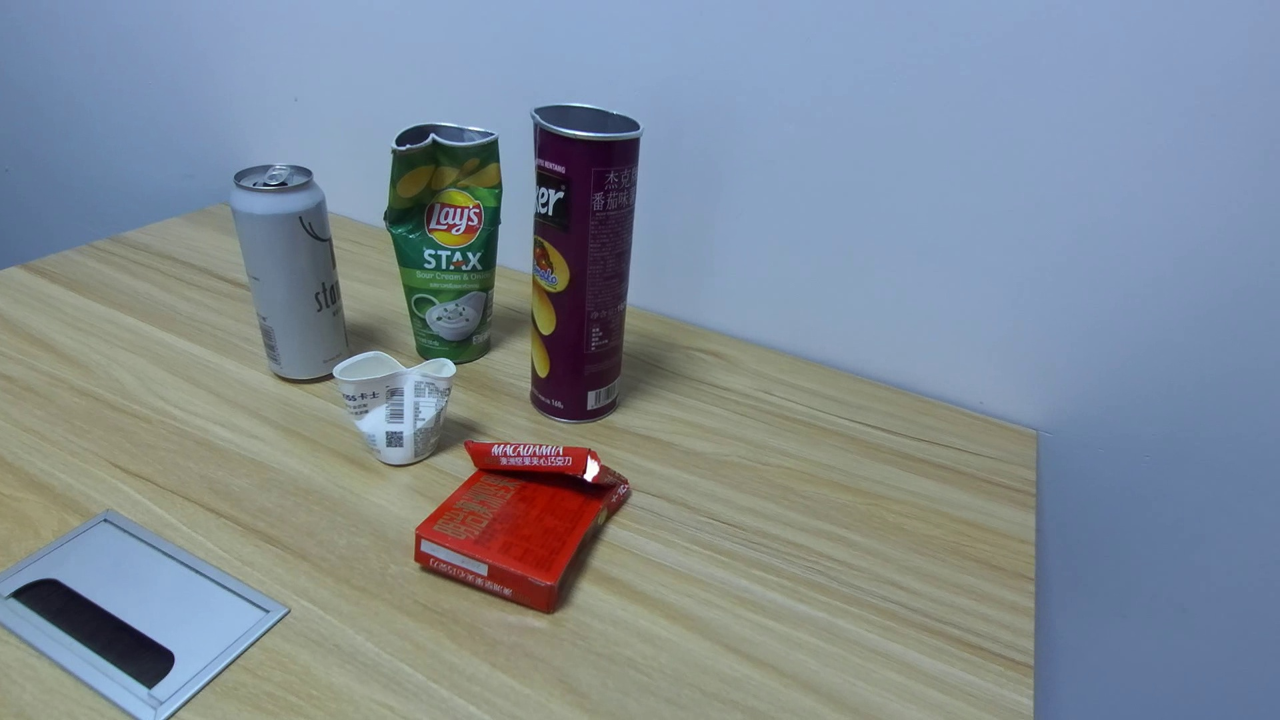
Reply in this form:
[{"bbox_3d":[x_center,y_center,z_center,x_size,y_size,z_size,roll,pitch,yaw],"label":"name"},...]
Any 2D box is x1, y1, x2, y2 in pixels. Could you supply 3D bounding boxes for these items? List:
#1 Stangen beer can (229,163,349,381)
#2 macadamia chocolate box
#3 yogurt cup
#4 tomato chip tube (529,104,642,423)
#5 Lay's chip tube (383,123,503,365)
[{"bbox_3d":[-0.280,-0.067,0.571,0.067,0.171,0.067,4,32,-2],"label":"Stangen beer can"},{"bbox_3d":[-0.082,0.098,0.474,0.112,0.056,0.126,2,33,23],"label":"macadamia chocolate box"},{"bbox_3d":[-0.178,0.033,0.523,0.076,0.071,0.053,-18,42,-29],"label":"yogurt cup"},{"bbox_3d":[-0.046,-0.066,0.542,0.077,0.234,0.080,-1,33,-9],"label":"tomato chip tube"},{"bbox_3d":[-0.166,-0.097,0.610,0.069,0.201,0.077,30,42,32],"label":"Lay's chip tube"}]
